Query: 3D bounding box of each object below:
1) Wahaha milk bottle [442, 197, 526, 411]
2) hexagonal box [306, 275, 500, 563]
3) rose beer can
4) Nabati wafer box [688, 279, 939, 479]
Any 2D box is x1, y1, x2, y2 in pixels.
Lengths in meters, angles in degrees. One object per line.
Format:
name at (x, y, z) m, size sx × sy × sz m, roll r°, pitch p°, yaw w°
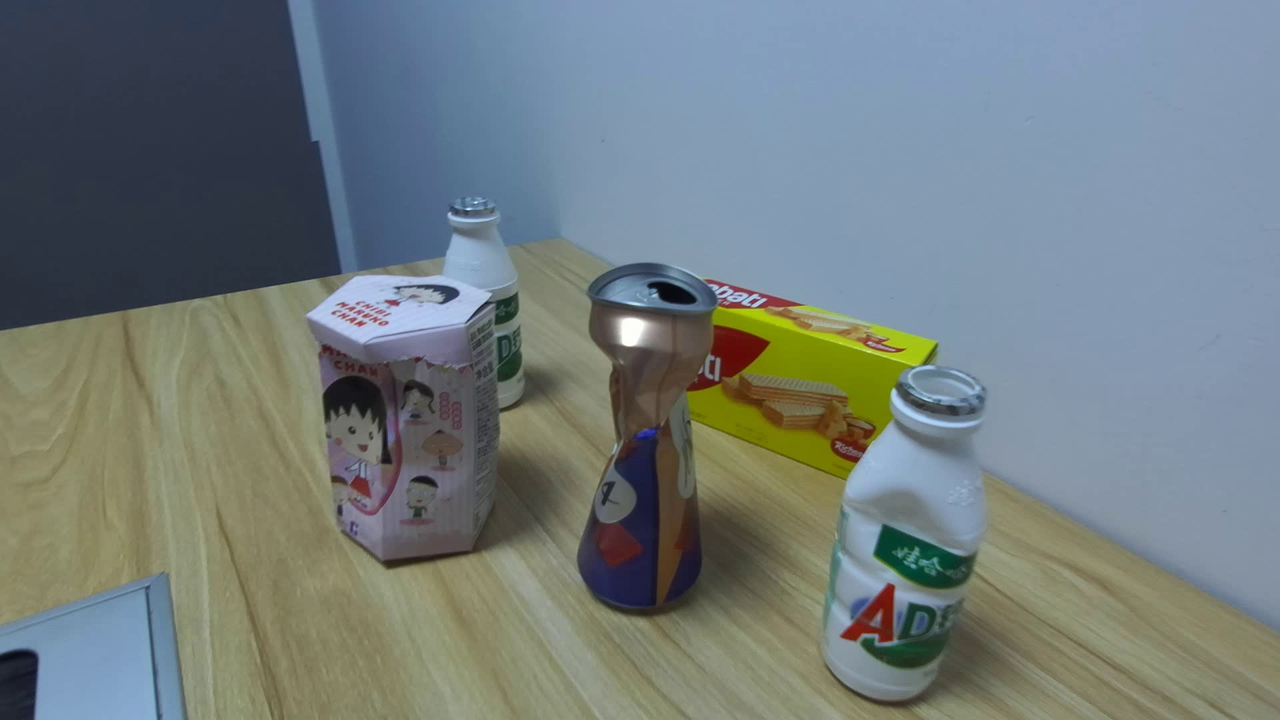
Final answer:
Wahaha milk bottle at (-0.109, -0.035, 0.490) m, size 0.053 × 0.147 × 0.053 m, roll 0°, pitch 19°, yaw 0°
hexagonal box at (-0.122, 0.029, 0.381) m, size 0.090 × 0.134 × 0.091 m, roll -2°, pitch 27°, yaw -13°
rose beer can at (0.002, 0.042, 0.343) m, size 0.068 × 0.162 × 0.073 m, roll -14°, pitch 29°, yaw -33°
Nabati wafer box at (0.086, 0.009, 0.475) m, size 0.202 × 0.093 × 0.042 m, roll 20°, pitch 34°, yaw 31°
